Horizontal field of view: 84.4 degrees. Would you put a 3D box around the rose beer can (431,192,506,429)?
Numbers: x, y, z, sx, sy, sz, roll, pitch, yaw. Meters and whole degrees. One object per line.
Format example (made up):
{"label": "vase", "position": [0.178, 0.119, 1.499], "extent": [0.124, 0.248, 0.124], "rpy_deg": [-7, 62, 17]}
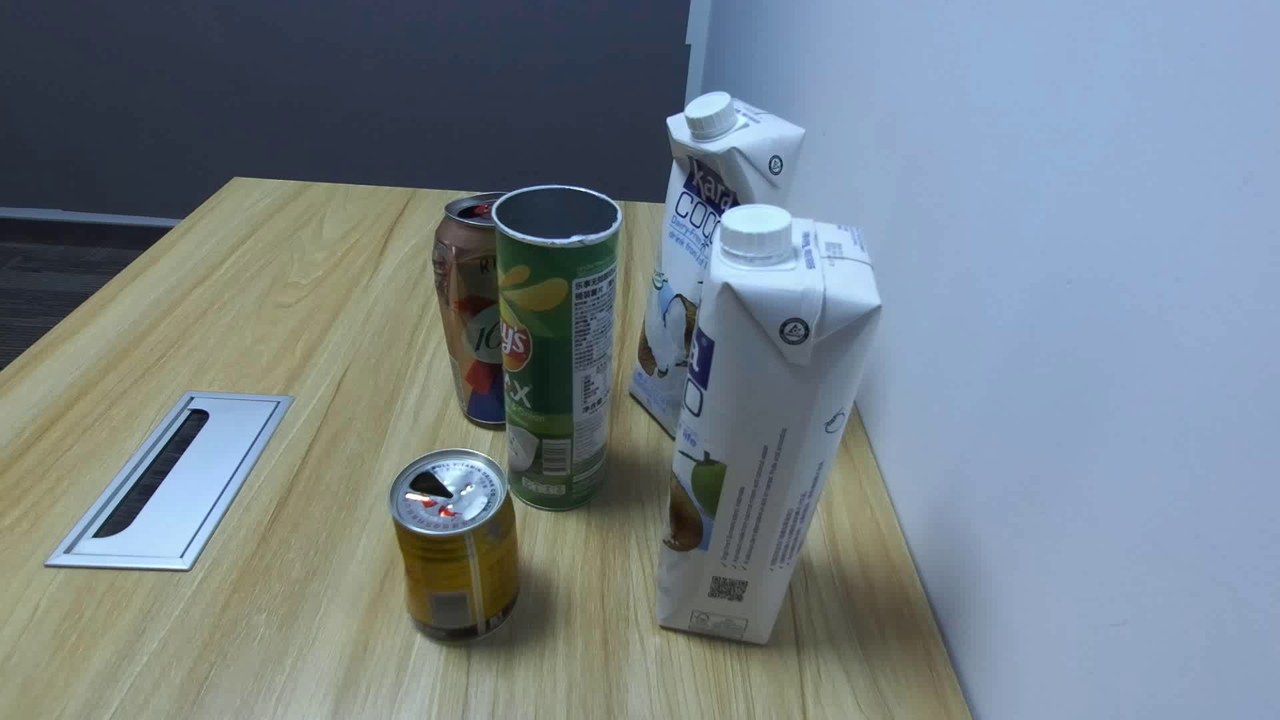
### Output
{"label": "rose beer can", "position": [-0.101, -0.031, 0.506], "extent": [0.076, 0.167, 0.065], "rpy_deg": [-11, 34, -16]}

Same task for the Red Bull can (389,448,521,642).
{"label": "Red Bull can", "position": [-0.101, 0.102, 0.388], "extent": [0.069, 0.092, 0.069], "rpy_deg": [3, 36, -2]}

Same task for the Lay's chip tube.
{"label": "Lay's chip tube", "position": [-0.050, -0.001, 0.435], "extent": [0.071, 0.202, 0.071], "rpy_deg": [3, 36, -2]}

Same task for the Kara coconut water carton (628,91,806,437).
{"label": "Kara coconut water carton", "position": [0.049, -0.061, 0.496], "extent": [0.071, 0.244, 0.099], "rpy_deg": [-19, 41, -31]}
